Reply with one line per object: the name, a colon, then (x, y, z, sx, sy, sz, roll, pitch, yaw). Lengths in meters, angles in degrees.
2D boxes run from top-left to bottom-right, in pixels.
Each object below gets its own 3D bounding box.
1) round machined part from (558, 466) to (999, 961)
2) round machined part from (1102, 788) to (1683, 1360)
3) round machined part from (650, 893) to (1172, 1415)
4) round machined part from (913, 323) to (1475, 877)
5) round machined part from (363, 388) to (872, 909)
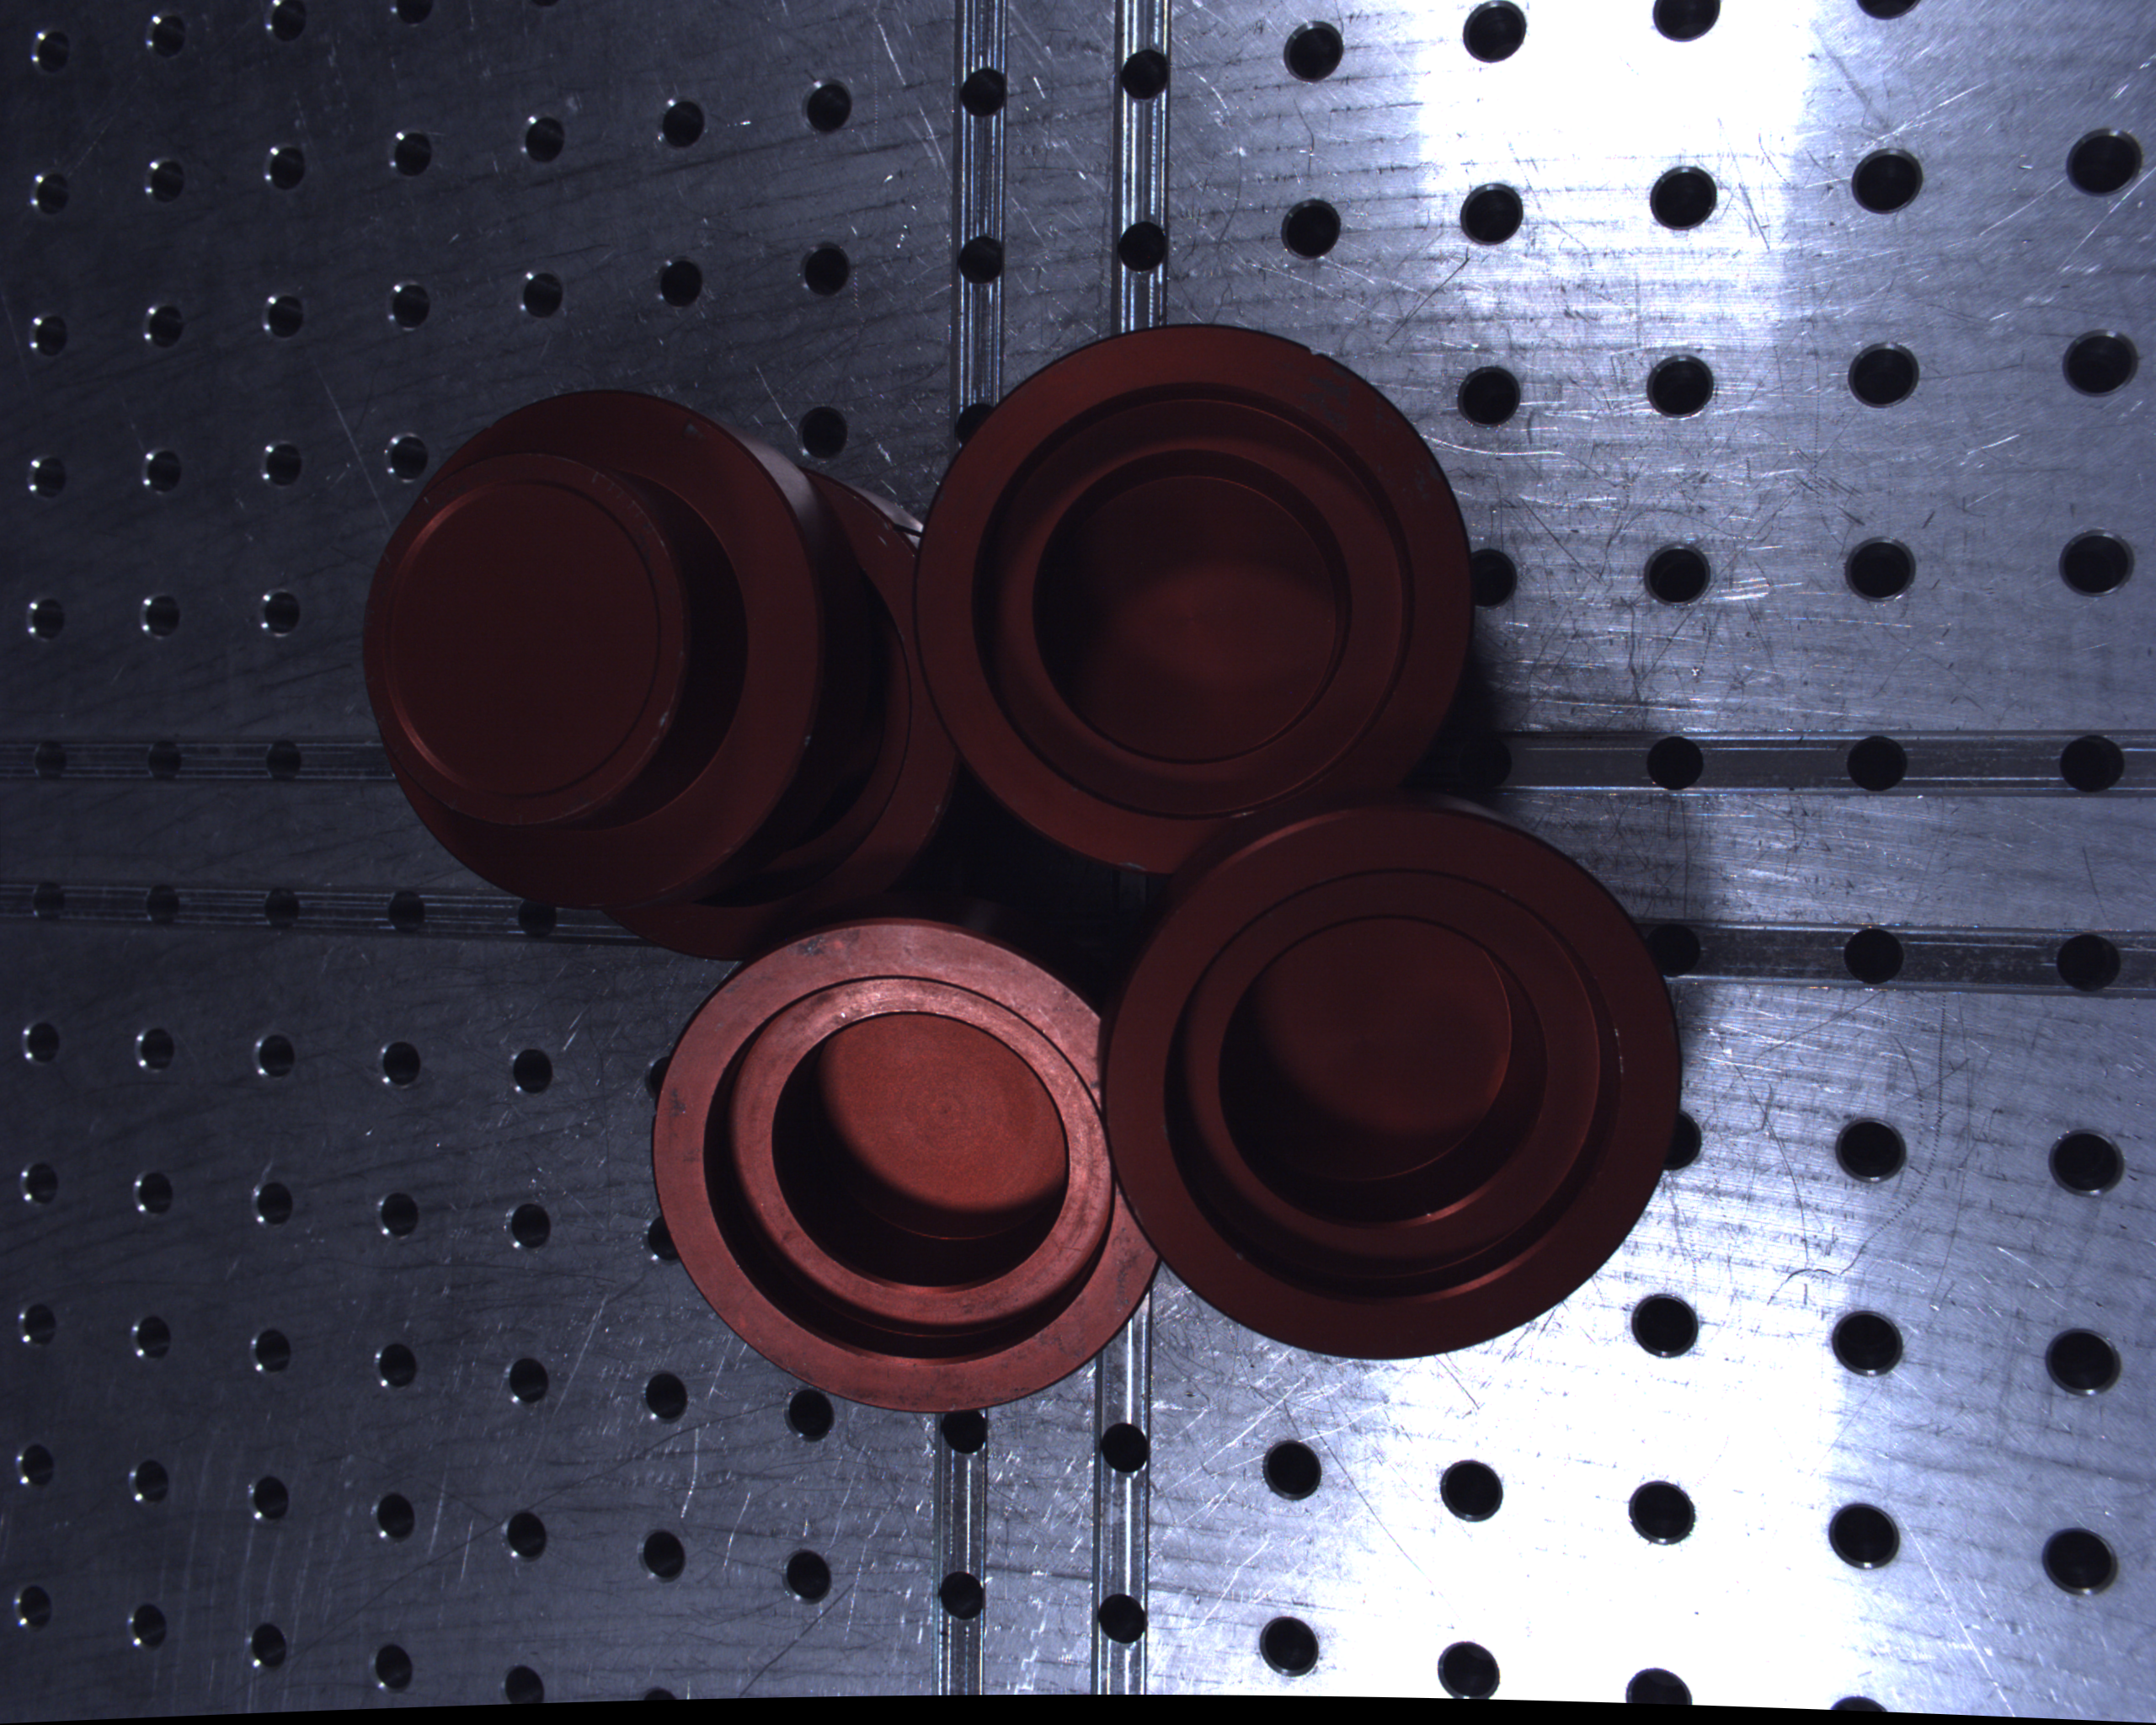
round machined part: (-0.060, -0.030, 0.423, 0.098, 0.042, 0.097, 0, 90, 19)
round machined part: (0.053, 0.035, 0.372, 0.099, 0.042, 0.097, 0, 100, -2)
round machined part: (-0.028, 0.053, 0.403, 0.098, 0.042, 0.097, 2, 104, 9)
round machined part: (0.021, -0.046, 0.386, 0.099, 0.042, 0.097, 0, 91, 3)
round machined part: (-0.092, -0.040, 0.390, 0.098, 0.042, 0.097, 0, 90, 19)
